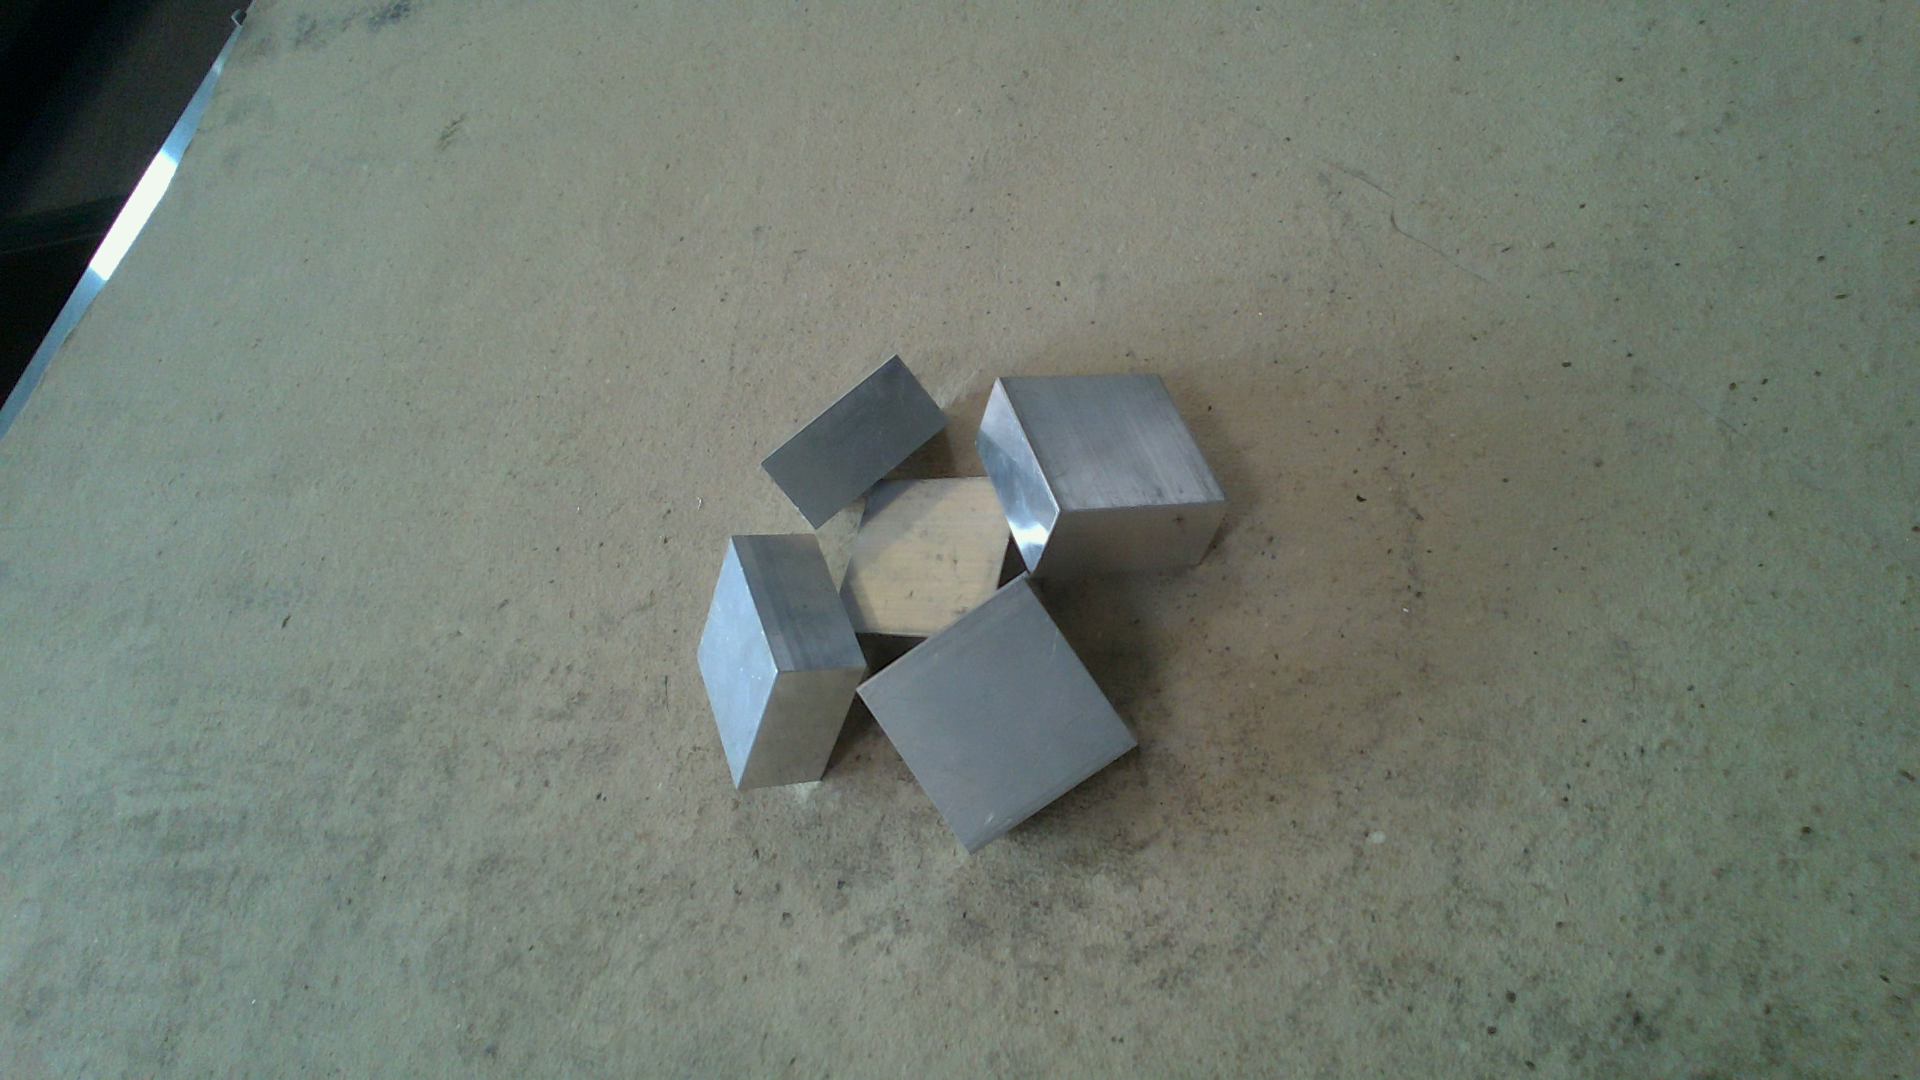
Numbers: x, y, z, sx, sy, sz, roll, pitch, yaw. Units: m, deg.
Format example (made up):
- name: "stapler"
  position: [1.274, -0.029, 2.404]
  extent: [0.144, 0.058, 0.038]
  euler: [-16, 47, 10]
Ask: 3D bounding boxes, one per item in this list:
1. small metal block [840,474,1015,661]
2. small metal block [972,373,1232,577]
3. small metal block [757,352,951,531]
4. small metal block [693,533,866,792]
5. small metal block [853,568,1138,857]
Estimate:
- name: "small metal block"
  position: [-0.005, 0.009, 0.391]
  extent: [0.050, 0.025, 0.050]
  euler: [0, 62, 27]
- name: "small metal block"
  position: [0.037, -0.018, 0.370]
  extent: [0.050, 0.025, 0.050]
  euler: [-3, 49, -22]
- name: "small metal block"
  position: [-0.032, -0.031, 0.414]
  extent: [0.050, 0.025, 0.050]
  euler: [-38, 9, 2]
- name: "small metal block"
  position: [-0.052, 0.034, 0.384]
  extent: [0.050, 0.025, 0.050]
  euler: [64, 143, 39]
- name: "small metal block"
  position: [0.010, 0.042, 0.347]
  extent: [0.050, 0.025, 0.050]
  euler: [-35, 89, 5]
